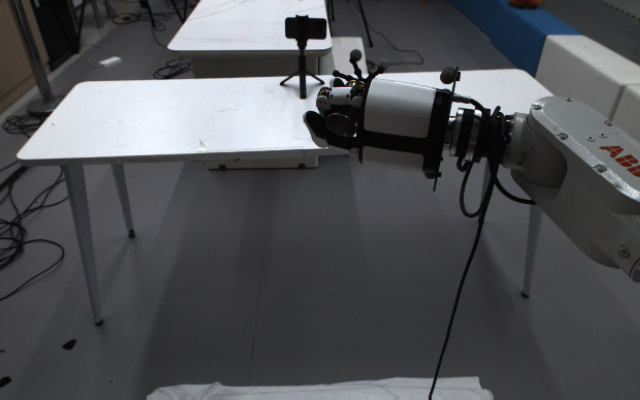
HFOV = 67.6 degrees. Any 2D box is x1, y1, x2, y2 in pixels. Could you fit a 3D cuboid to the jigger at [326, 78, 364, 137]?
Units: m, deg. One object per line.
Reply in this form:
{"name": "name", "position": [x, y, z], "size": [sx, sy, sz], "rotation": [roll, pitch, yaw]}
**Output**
{"name": "jigger", "position": [0.041, -0.128, 0.654], "size": [0.043, 0.043, 0.071], "rotation": [15, 58, 18]}
